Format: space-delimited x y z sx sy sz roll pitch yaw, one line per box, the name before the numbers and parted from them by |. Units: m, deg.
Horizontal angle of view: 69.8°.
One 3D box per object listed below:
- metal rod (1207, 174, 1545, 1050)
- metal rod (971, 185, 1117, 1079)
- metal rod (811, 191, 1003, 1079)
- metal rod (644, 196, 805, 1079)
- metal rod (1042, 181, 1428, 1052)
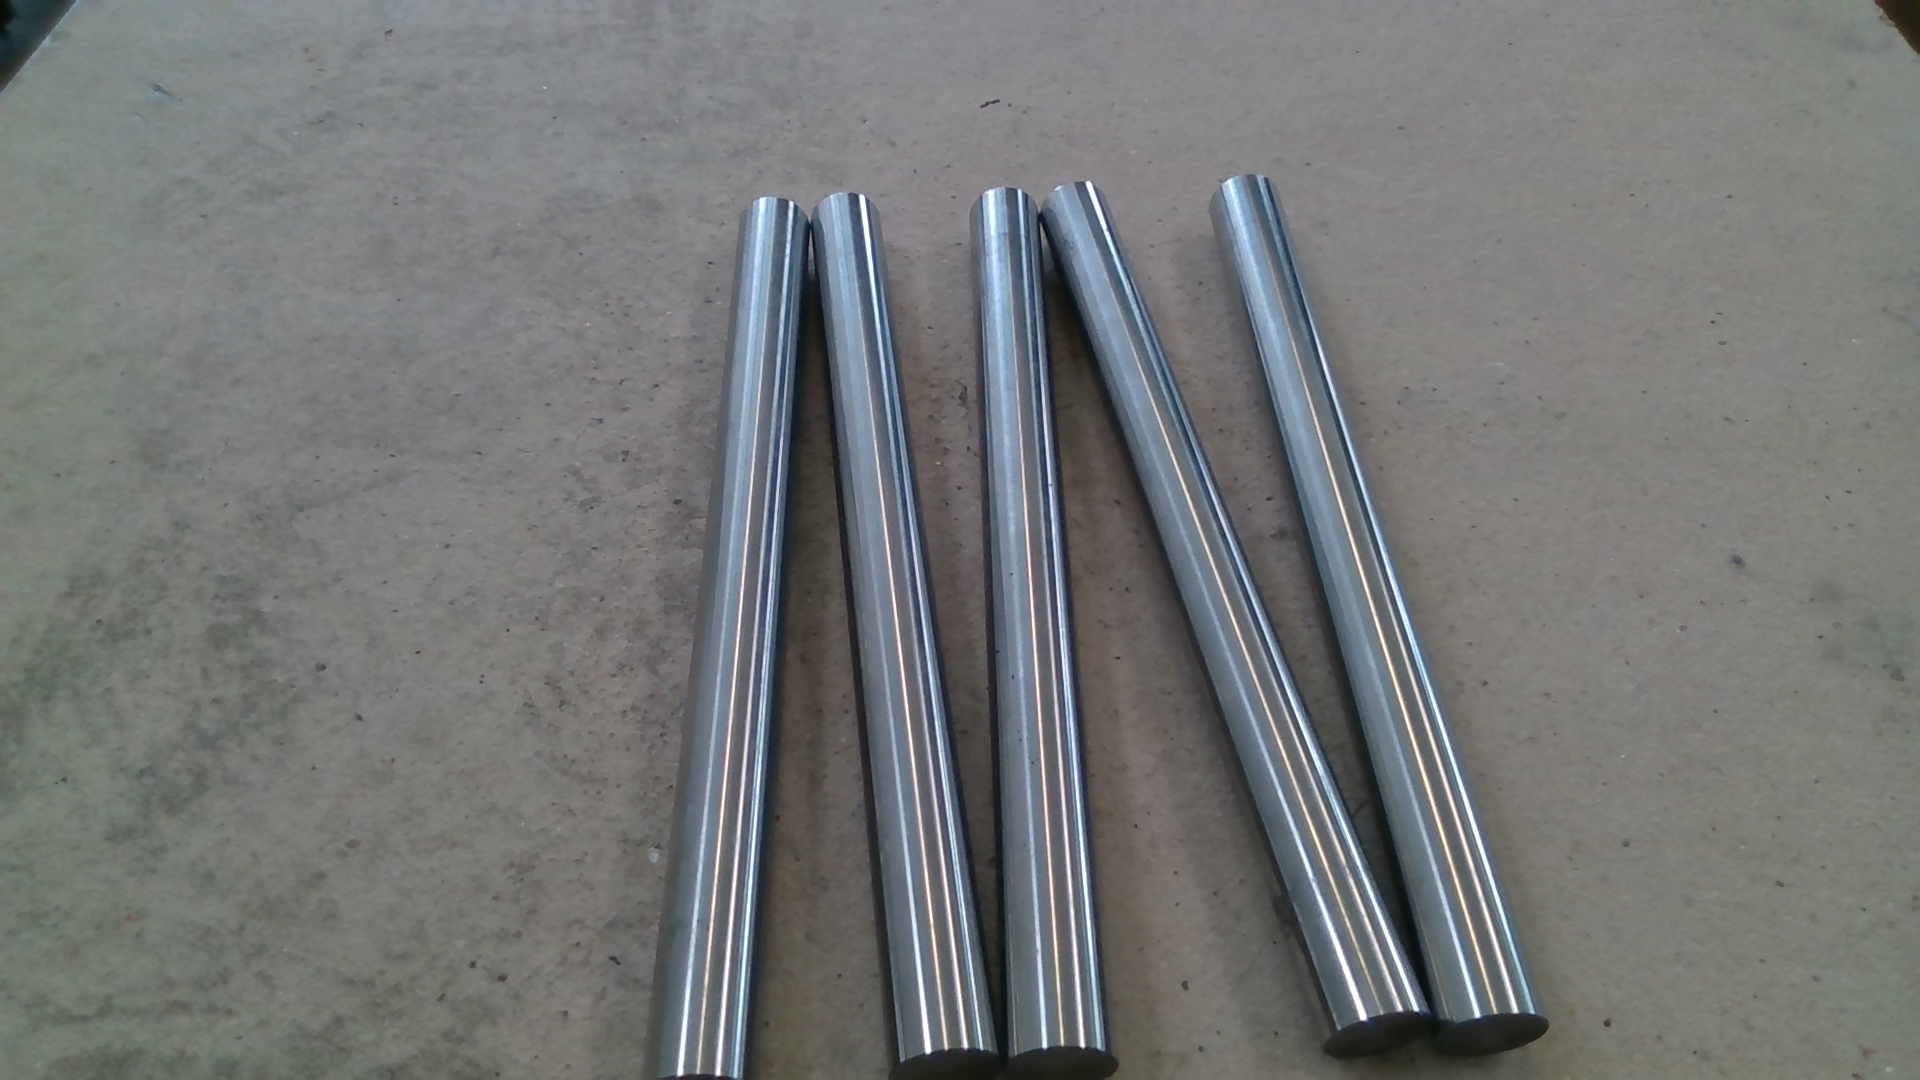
metal rod | 0.109 -0.006 0.400 0.025 0.025 0.299 -2 50 -2
metal rod | 0.019 -0.001 0.395 0.025 0.025 0.299 -1 50 -1
metal rod | -0.022 0.000 0.394 0.025 0.025 0.299 -6 50 -5
metal rod | -0.061 0.004 0.391 0.025 0.025 0.299 -2 50 -1
metal rod | 0.066 -0.005 0.398 0.025 0.025 0.299 -8 51 -6
